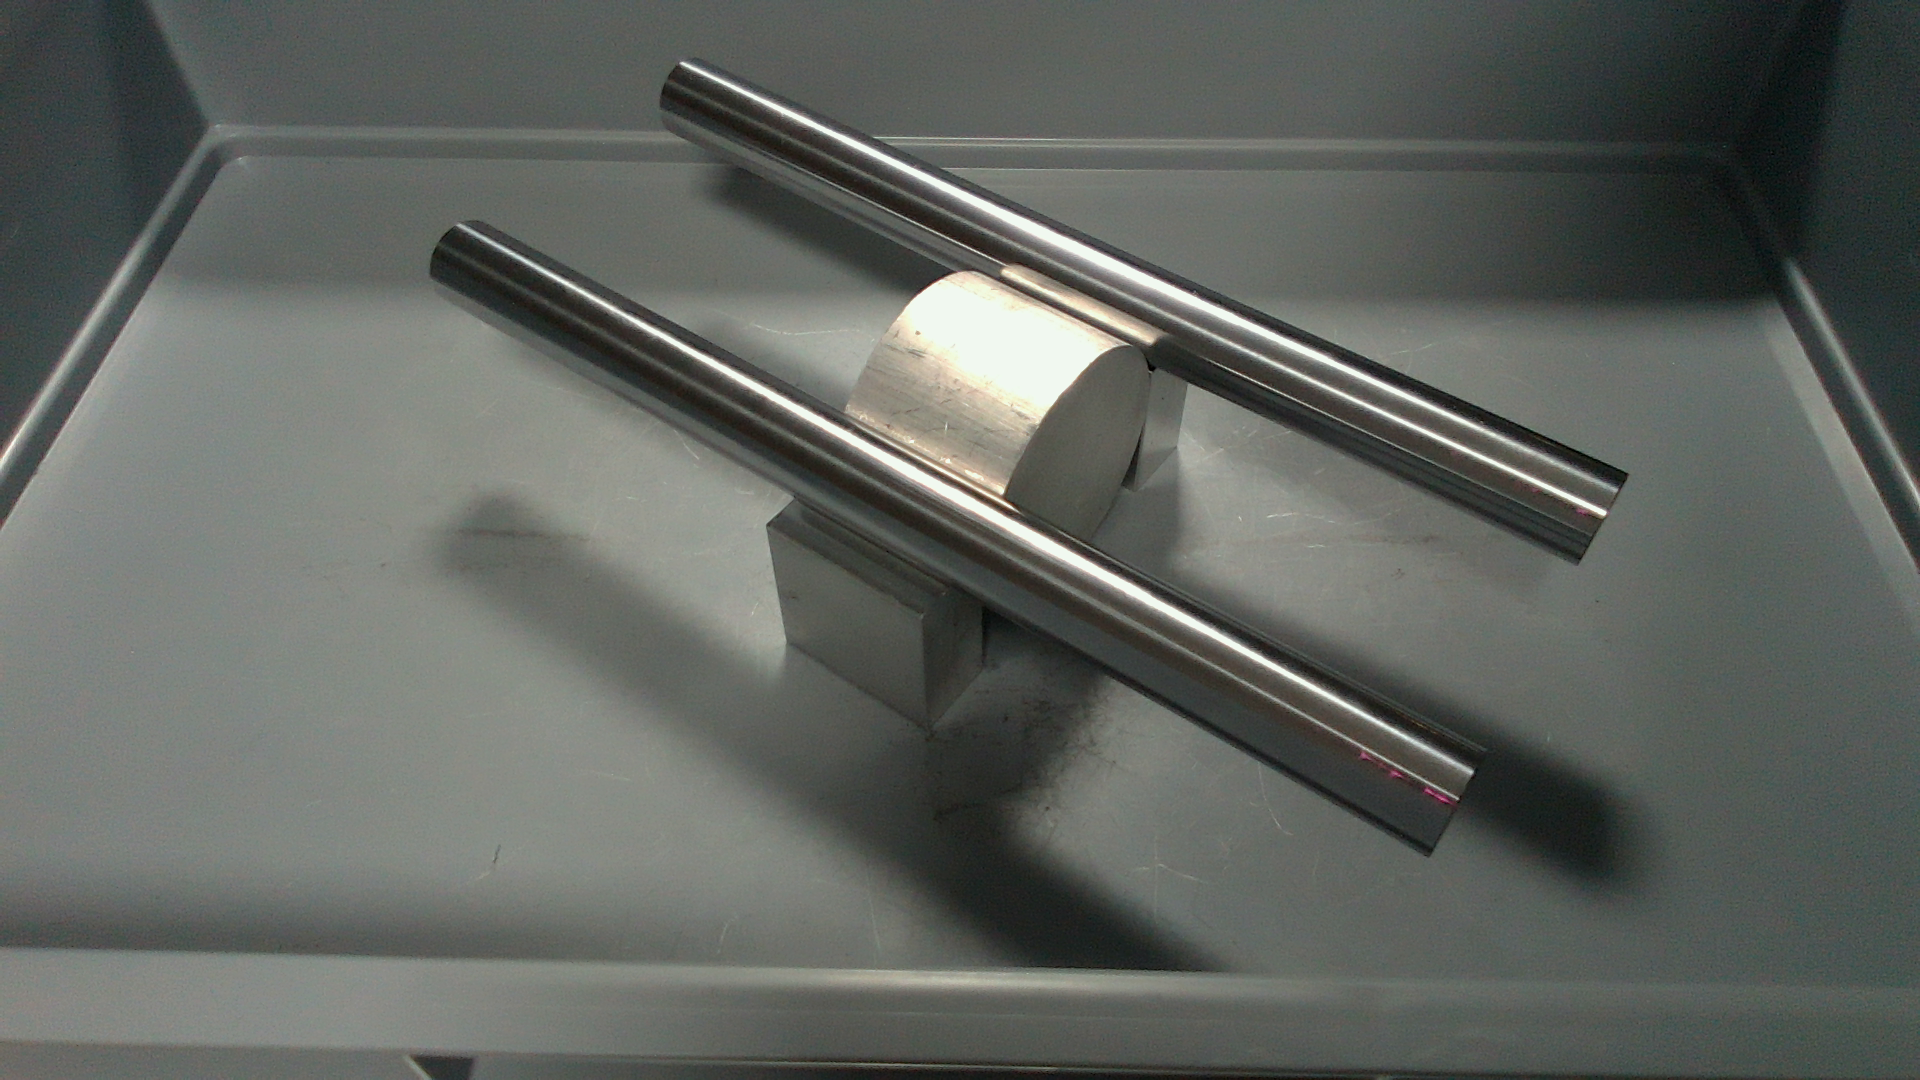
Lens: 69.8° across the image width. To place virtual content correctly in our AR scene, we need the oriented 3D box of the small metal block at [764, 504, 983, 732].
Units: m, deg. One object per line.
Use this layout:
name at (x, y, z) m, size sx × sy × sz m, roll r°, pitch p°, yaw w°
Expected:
small metal block at (-0.022, 0.016, 0.361) m, size 0.050 × 0.050 × 0.025 m, roll 30°, pitch 56°, yaw 23°

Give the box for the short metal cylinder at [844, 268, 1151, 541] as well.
short metal cylinder at (0.010, -0.027, 0.377) m, size 0.050 × 0.080 × 0.080 m, roll 29°, pitch 56°, yaw 23°

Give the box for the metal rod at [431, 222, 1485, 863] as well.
metal rod at (-0.020, -0.012, 0.337) m, size 0.299 × 0.025 × 0.025 m, roll 29°, pitch 56°, yaw 23°

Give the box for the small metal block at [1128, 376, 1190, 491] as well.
small metal block at (0.042, -0.050, 0.416) m, size 0.050 × 0.050 × 0.025 m, roll 30°, pitch 56°, yaw 23°

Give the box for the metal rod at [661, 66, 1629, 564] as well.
metal rod at (0.033, -0.073, 0.387) m, size 0.299 × 0.025 × 0.025 m, roll 29°, pitch 56°, yaw 22°
